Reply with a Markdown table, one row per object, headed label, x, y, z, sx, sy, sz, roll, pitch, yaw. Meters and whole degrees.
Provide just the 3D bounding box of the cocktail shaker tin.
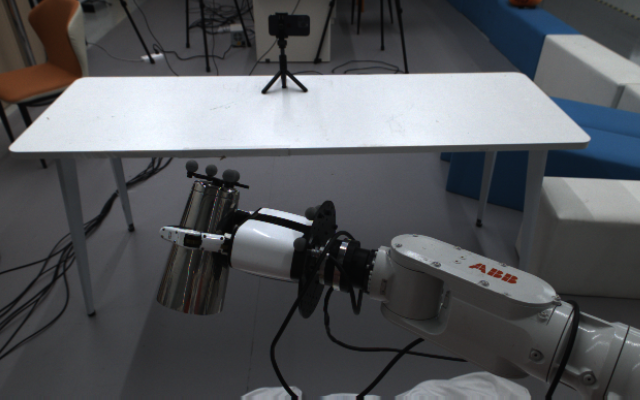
| label | x | y | z | sx | sy | sz | roll | pitch | yaw |
| --- | --- | --- | --- | --- | --- | --- | --- | --- | --- |
| cocktail shaker tin | -0.163 | 0.063 | 0.676 | 0.093 | 0.170 | 0.093 | 13 | 2 | 0 |
